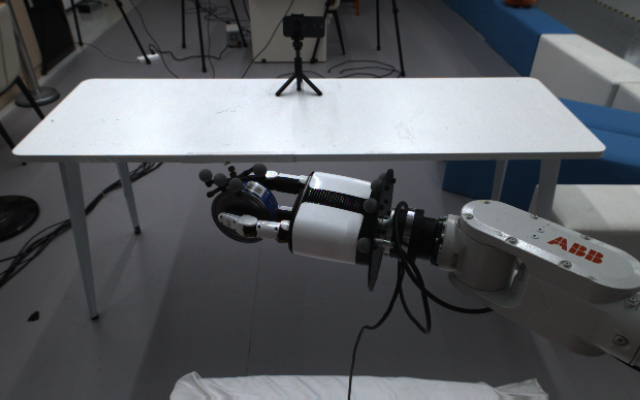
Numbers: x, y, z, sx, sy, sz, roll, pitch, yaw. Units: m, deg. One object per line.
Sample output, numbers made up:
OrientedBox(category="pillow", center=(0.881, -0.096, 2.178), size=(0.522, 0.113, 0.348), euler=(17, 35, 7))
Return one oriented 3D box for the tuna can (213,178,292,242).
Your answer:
OrientedBox(category="tuna can", center=(-0.095, 0.015, 0.654), size=(0.085, 0.085, 0.034), euler=(10, 33, 11))
